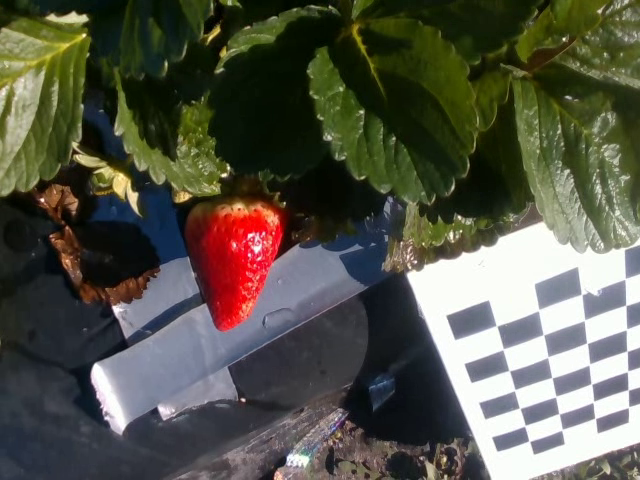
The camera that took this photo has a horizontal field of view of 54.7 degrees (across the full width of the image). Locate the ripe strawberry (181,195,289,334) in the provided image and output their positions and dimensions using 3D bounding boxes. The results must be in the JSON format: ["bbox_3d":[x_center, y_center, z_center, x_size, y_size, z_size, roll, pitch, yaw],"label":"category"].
[{"bbox_3d":[-0.039,0.015,0.310,0.061,0.065,0.057,1,-3,-17],"label":"ripe strawberry"}]
